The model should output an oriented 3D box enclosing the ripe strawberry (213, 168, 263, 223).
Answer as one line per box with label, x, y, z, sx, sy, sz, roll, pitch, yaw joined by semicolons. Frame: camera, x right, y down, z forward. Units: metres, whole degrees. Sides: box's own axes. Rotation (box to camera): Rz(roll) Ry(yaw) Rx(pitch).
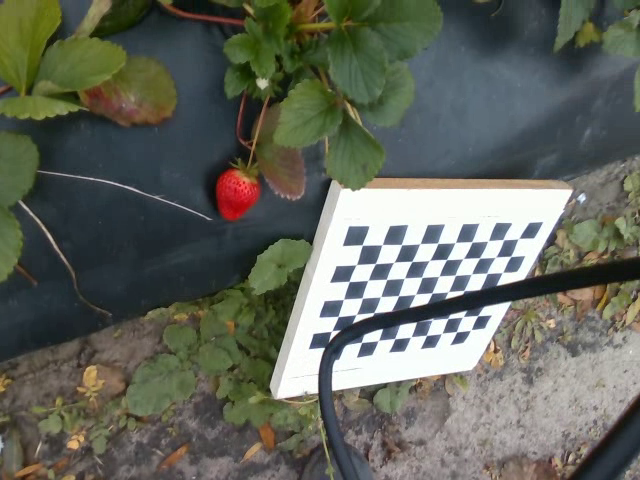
ripe strawberry;-0.046;-0.024;0.348;0.028;0.033;0.023;16;24;-31
